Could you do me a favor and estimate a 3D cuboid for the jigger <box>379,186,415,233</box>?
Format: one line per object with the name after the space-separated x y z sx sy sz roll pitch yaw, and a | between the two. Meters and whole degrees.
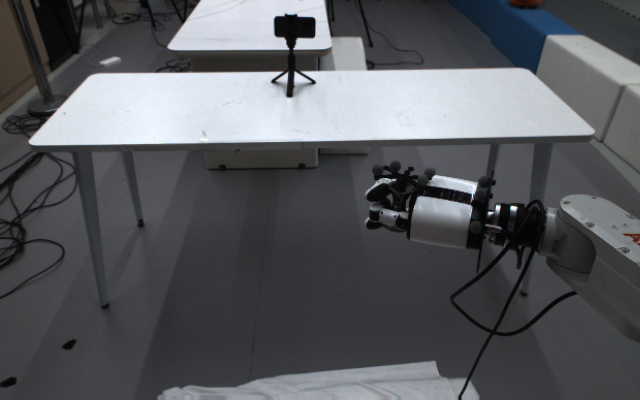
0.127 0.009 0.763 0.043 0.071 0.043 3 25 -1 | jigger
